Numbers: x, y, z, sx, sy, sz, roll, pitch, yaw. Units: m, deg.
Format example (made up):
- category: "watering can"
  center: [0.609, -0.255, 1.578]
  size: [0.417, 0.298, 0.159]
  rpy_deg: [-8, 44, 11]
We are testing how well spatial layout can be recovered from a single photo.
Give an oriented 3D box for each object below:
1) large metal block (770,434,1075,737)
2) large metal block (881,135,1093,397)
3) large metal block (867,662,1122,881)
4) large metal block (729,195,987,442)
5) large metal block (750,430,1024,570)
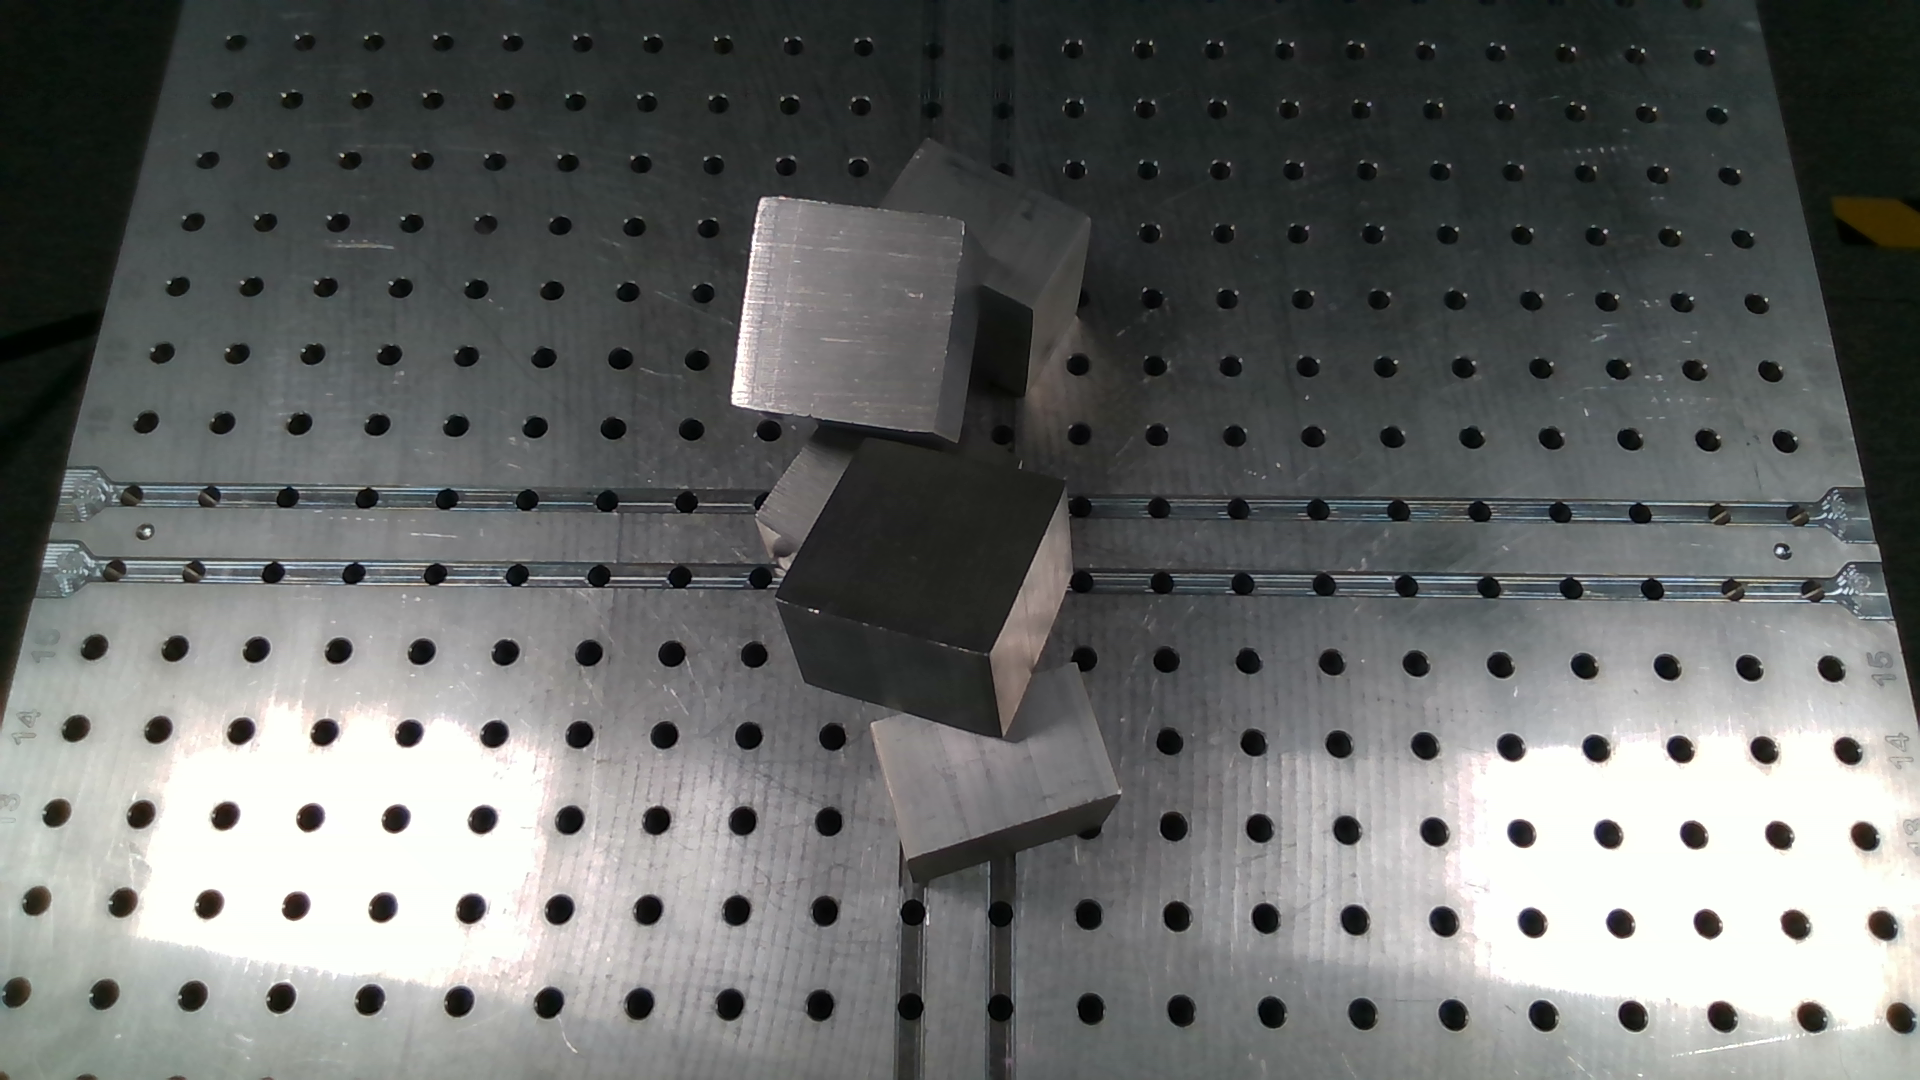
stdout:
- category: "large metal block"
  center: [-0.010, 0.015, 0.498]
  size: [0.080, 0.050, 0.080]
  rpy_deg: [14, 55, 18]
- category: "large metal block"
  center: [0.008, -0.118, 0.603]
  size: [0.080, 0.080, 0.050]
  rpy_deg: [28, 73, 10]
- category: "large metal block"
  center: [0.012, 0.091, 0.529]
  size: [0.080, 0.080, 0.050]
  rpy_deg: [-15, 71, -5]
- category: "large metal block"
  center: [-0.038, -0.084, 0.538]
  size: [0.080, 0.050, 0.080]
  rpy_deg: [9, 91, 10]
- category: "large metal block"
  center: [-0.029, -0.012, 0.581]
  size: [0.080, 0.050, 0.080]
  rpy_deg: [30, 73, 10]
